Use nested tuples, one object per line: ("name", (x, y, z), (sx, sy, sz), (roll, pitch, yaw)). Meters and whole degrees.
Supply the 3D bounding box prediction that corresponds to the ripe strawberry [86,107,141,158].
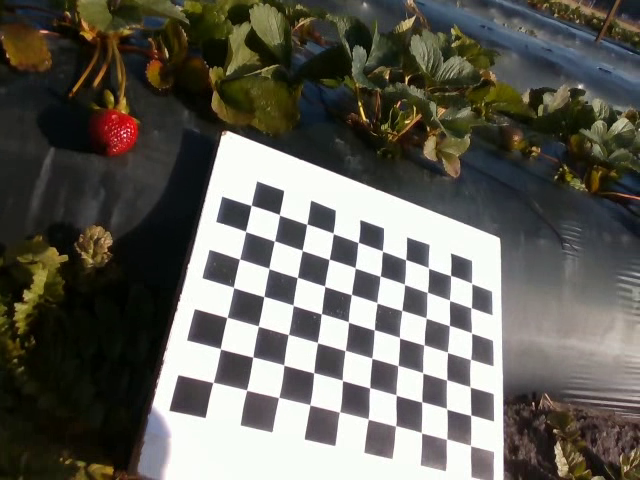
("ripe strawberry", (-0.147, -0.075, 0.420), (0.040, 0.044, 0.037), (0, -35, -28))
